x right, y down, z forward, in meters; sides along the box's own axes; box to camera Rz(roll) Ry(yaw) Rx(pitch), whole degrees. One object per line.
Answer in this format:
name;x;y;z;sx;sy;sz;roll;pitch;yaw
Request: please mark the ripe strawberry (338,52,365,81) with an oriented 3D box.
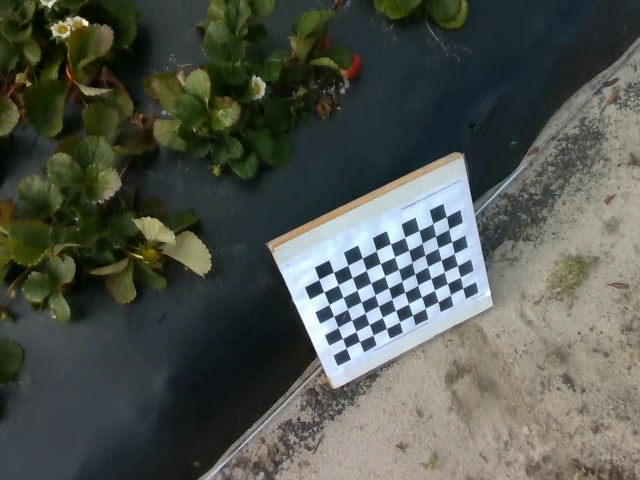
ripe strawberry;0.025;-0.154;0.582;0.027;0.021;0.022;-41;-45;14
